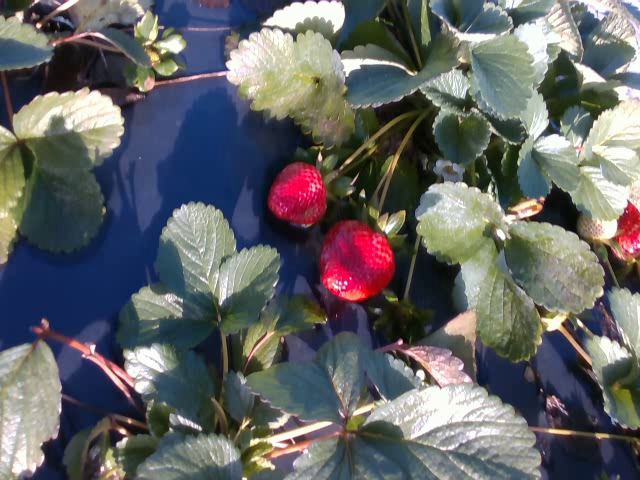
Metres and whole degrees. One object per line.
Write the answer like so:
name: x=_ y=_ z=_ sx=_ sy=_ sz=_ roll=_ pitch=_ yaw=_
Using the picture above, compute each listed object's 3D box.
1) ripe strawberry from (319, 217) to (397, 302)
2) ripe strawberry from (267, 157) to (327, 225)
ripe strawberry: x=0.019 y=0.015 z=0.355 sx=0.052 sy=0.046 sz=0.057 roll=24 pitch=41 yaw=21
ripe strawberry: x=-0.017 y=-0.027 z=0.363 sx=0.043 sy=0.037 sz=0.052 roll=15 pitch=40 yaw=21
